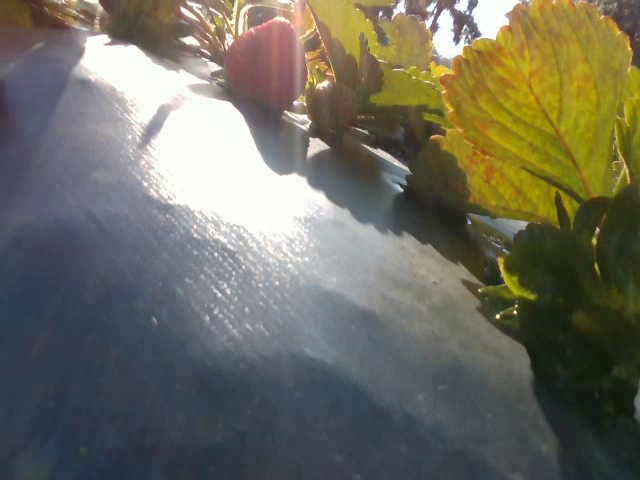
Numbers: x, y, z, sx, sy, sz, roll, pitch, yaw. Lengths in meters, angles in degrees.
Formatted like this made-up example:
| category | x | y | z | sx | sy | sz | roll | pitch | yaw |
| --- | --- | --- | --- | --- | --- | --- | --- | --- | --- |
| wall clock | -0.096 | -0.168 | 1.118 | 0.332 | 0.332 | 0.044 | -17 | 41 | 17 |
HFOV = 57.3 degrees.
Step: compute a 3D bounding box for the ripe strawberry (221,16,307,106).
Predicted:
| category | x | y | z | sx | sy | sz | roll | pitch | yaw |
| --- | --- | --- | --- | --- | --- | --- | --- | --- | --- |
| ripe strawberry | -0.017 | -0.059 | 0.206 | 0.037 | 0.042 | 0.045 | -46 | -5 | -34 |
